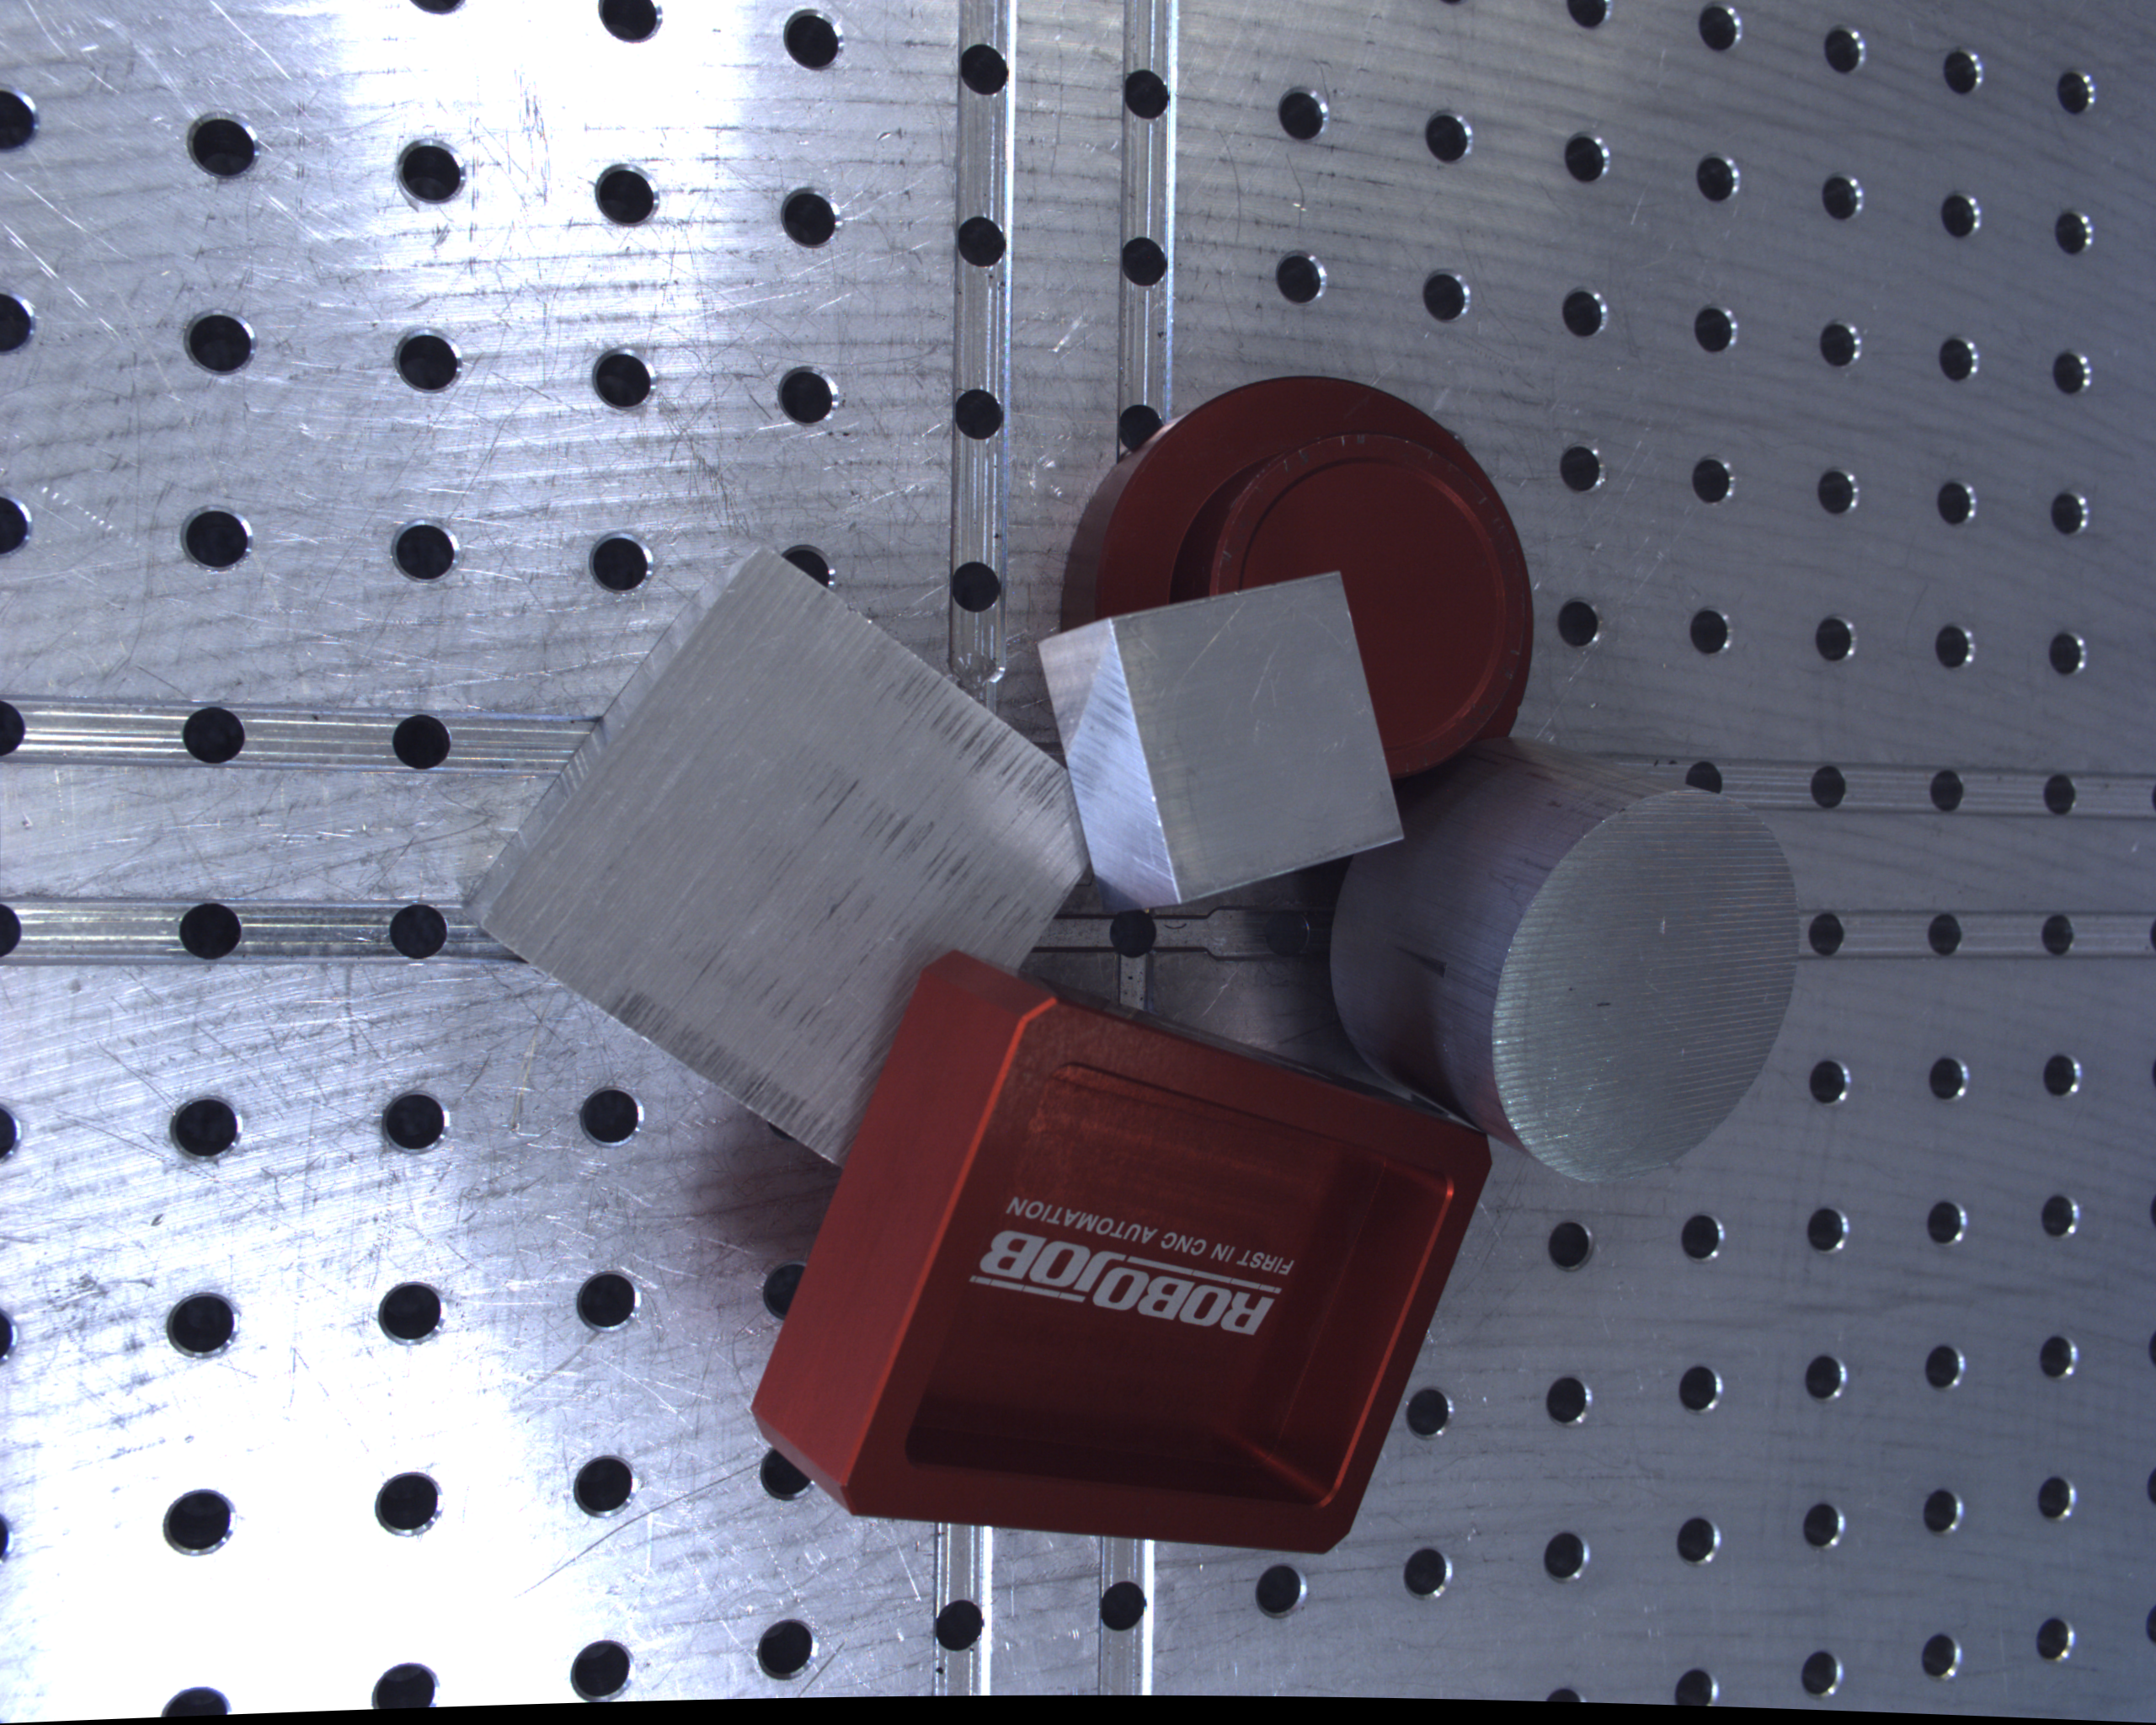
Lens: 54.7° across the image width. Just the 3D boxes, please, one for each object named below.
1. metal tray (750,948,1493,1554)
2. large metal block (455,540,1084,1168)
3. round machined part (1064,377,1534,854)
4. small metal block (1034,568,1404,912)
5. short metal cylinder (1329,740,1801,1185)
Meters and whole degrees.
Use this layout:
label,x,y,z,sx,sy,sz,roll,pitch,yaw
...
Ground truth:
label,x,y,z,sx,sy,sz,roll,pitch,yaw
metal tray,0.014,0.076,0.385,0.131,0.030,0.090,21,90,-41
large metal block,-0.053,0.001,0.380,0.080,0.050,0.080,37,78,-16
round machined part,0.050,-0.050,0.422,0.099,0.042,0.097,0,90,-20
small metal block,0.025,-0.022,0.373,0.050,0.025,0.050,-15,92,-31
short metal cylinder,0.099,0.019,0.424,0.081,0.050,0.079,-9,109,-29
